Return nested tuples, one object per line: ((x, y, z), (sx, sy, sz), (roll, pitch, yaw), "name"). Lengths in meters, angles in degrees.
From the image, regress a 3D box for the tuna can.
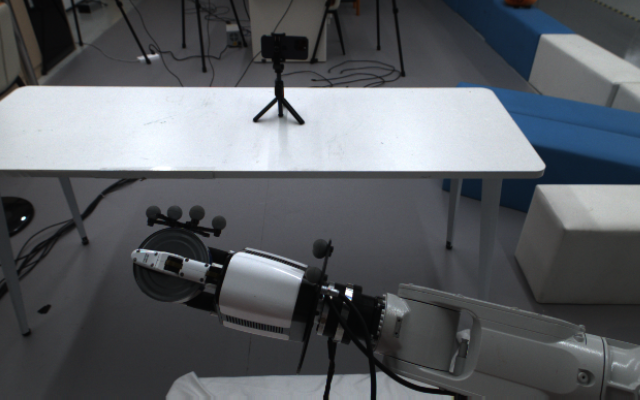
((-0.168, 0.076, 0.563), (0.085, 0.034, 0.085), (1, 72, -3), "tuna can")
